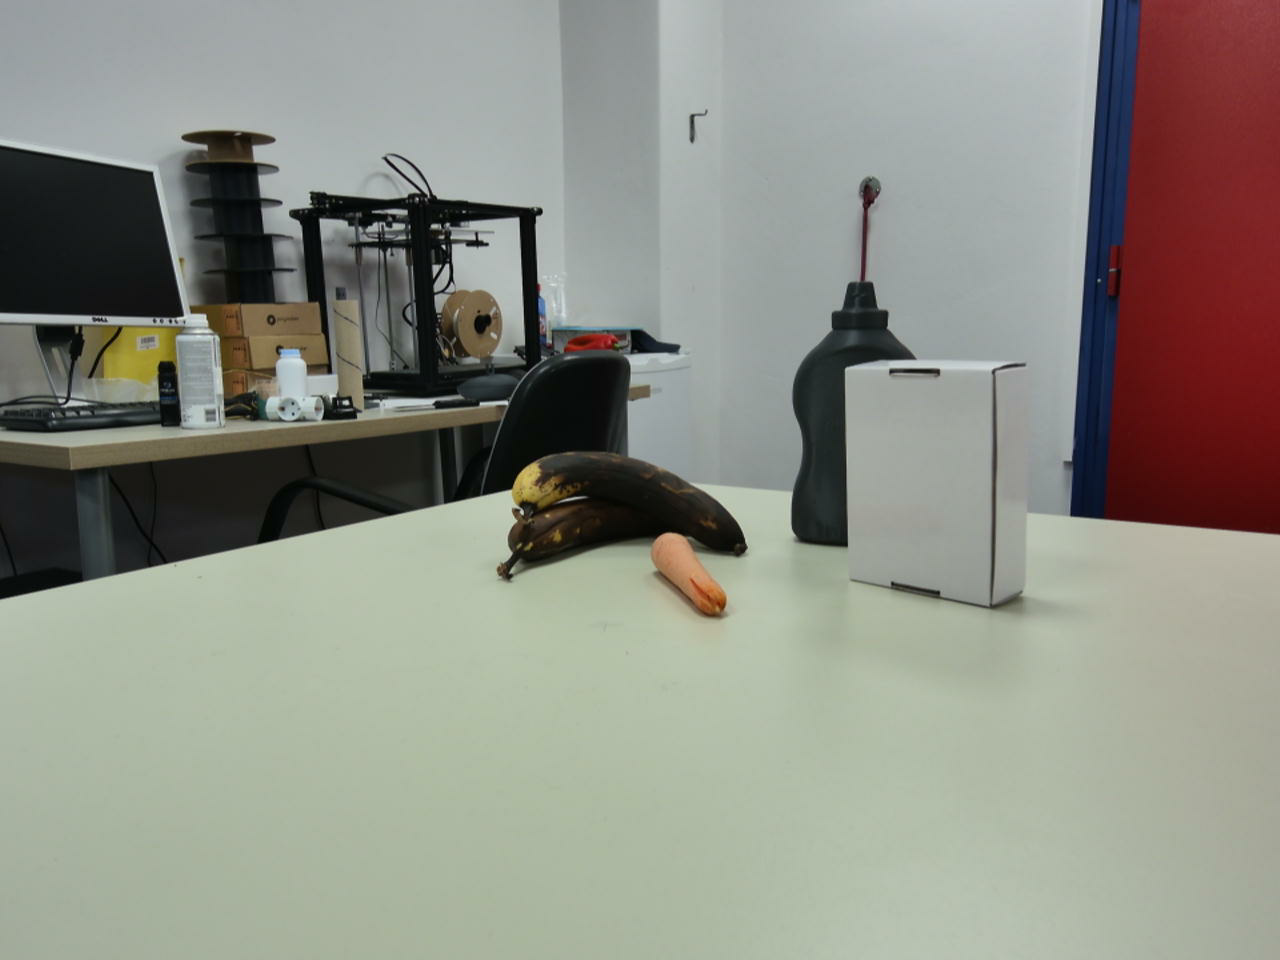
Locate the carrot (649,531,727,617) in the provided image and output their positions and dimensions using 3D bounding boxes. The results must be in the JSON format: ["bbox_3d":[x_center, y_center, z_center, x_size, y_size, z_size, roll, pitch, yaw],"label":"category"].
[{"bbox_3d":[0.031,0.058,0.653,0.030,0.032,0.136,-1,7,-10],"label":"carrot"}]
